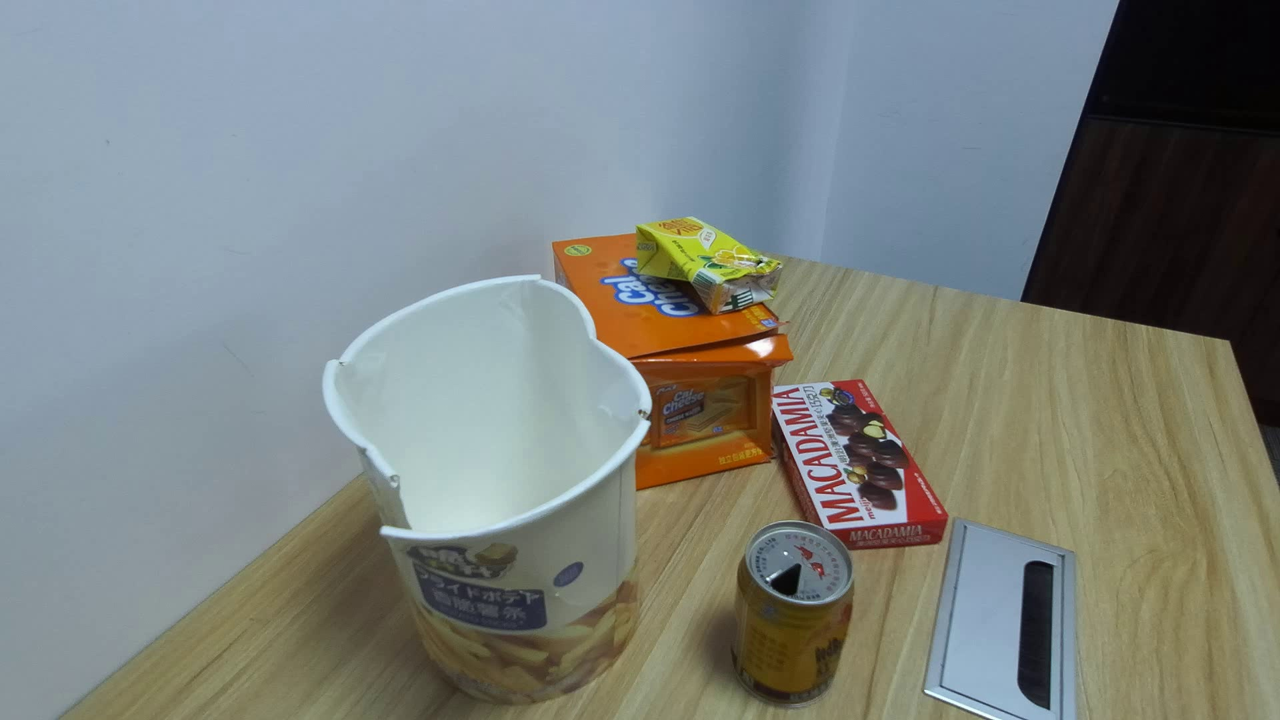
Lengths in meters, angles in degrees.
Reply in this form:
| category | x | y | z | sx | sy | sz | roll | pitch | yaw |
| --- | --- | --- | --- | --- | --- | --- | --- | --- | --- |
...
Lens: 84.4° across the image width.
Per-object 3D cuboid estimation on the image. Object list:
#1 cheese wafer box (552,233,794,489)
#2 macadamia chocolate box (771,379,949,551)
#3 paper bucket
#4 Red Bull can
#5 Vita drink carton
| category | x | y | z | sx | sy | sz | roll | pitch | yaw |
| --- | --- | --- | --- | --- | --- | --- | --- | --- | --- |
| cheese wafer box | 0.016 | -0.013 | 0.624 | 0.150 | 0.137 | 0.226 | -9 | 33 | -15 |
| macadamia chocolate box | 0.167 | 0.079 | 0.579 | 0.096 | 0.027 | 0.177 | -4 | 33 | -3 |
| paper bucket | -0.075 | 0.084 | 0.418 | 0.146 | 0.197 | 0.201 | -20 | 37 | -24 |
| Red Bull can | 0.089 | 0.147 | 0.413 | 0.068 | 0.093 | 0.068 | -1 | 34 | 1 |
| Vita drink carton | 0.054 | -0.076 | 0.572 | 0.087 | 0.042 | 0.107 | -16 | 39 | -37 |
